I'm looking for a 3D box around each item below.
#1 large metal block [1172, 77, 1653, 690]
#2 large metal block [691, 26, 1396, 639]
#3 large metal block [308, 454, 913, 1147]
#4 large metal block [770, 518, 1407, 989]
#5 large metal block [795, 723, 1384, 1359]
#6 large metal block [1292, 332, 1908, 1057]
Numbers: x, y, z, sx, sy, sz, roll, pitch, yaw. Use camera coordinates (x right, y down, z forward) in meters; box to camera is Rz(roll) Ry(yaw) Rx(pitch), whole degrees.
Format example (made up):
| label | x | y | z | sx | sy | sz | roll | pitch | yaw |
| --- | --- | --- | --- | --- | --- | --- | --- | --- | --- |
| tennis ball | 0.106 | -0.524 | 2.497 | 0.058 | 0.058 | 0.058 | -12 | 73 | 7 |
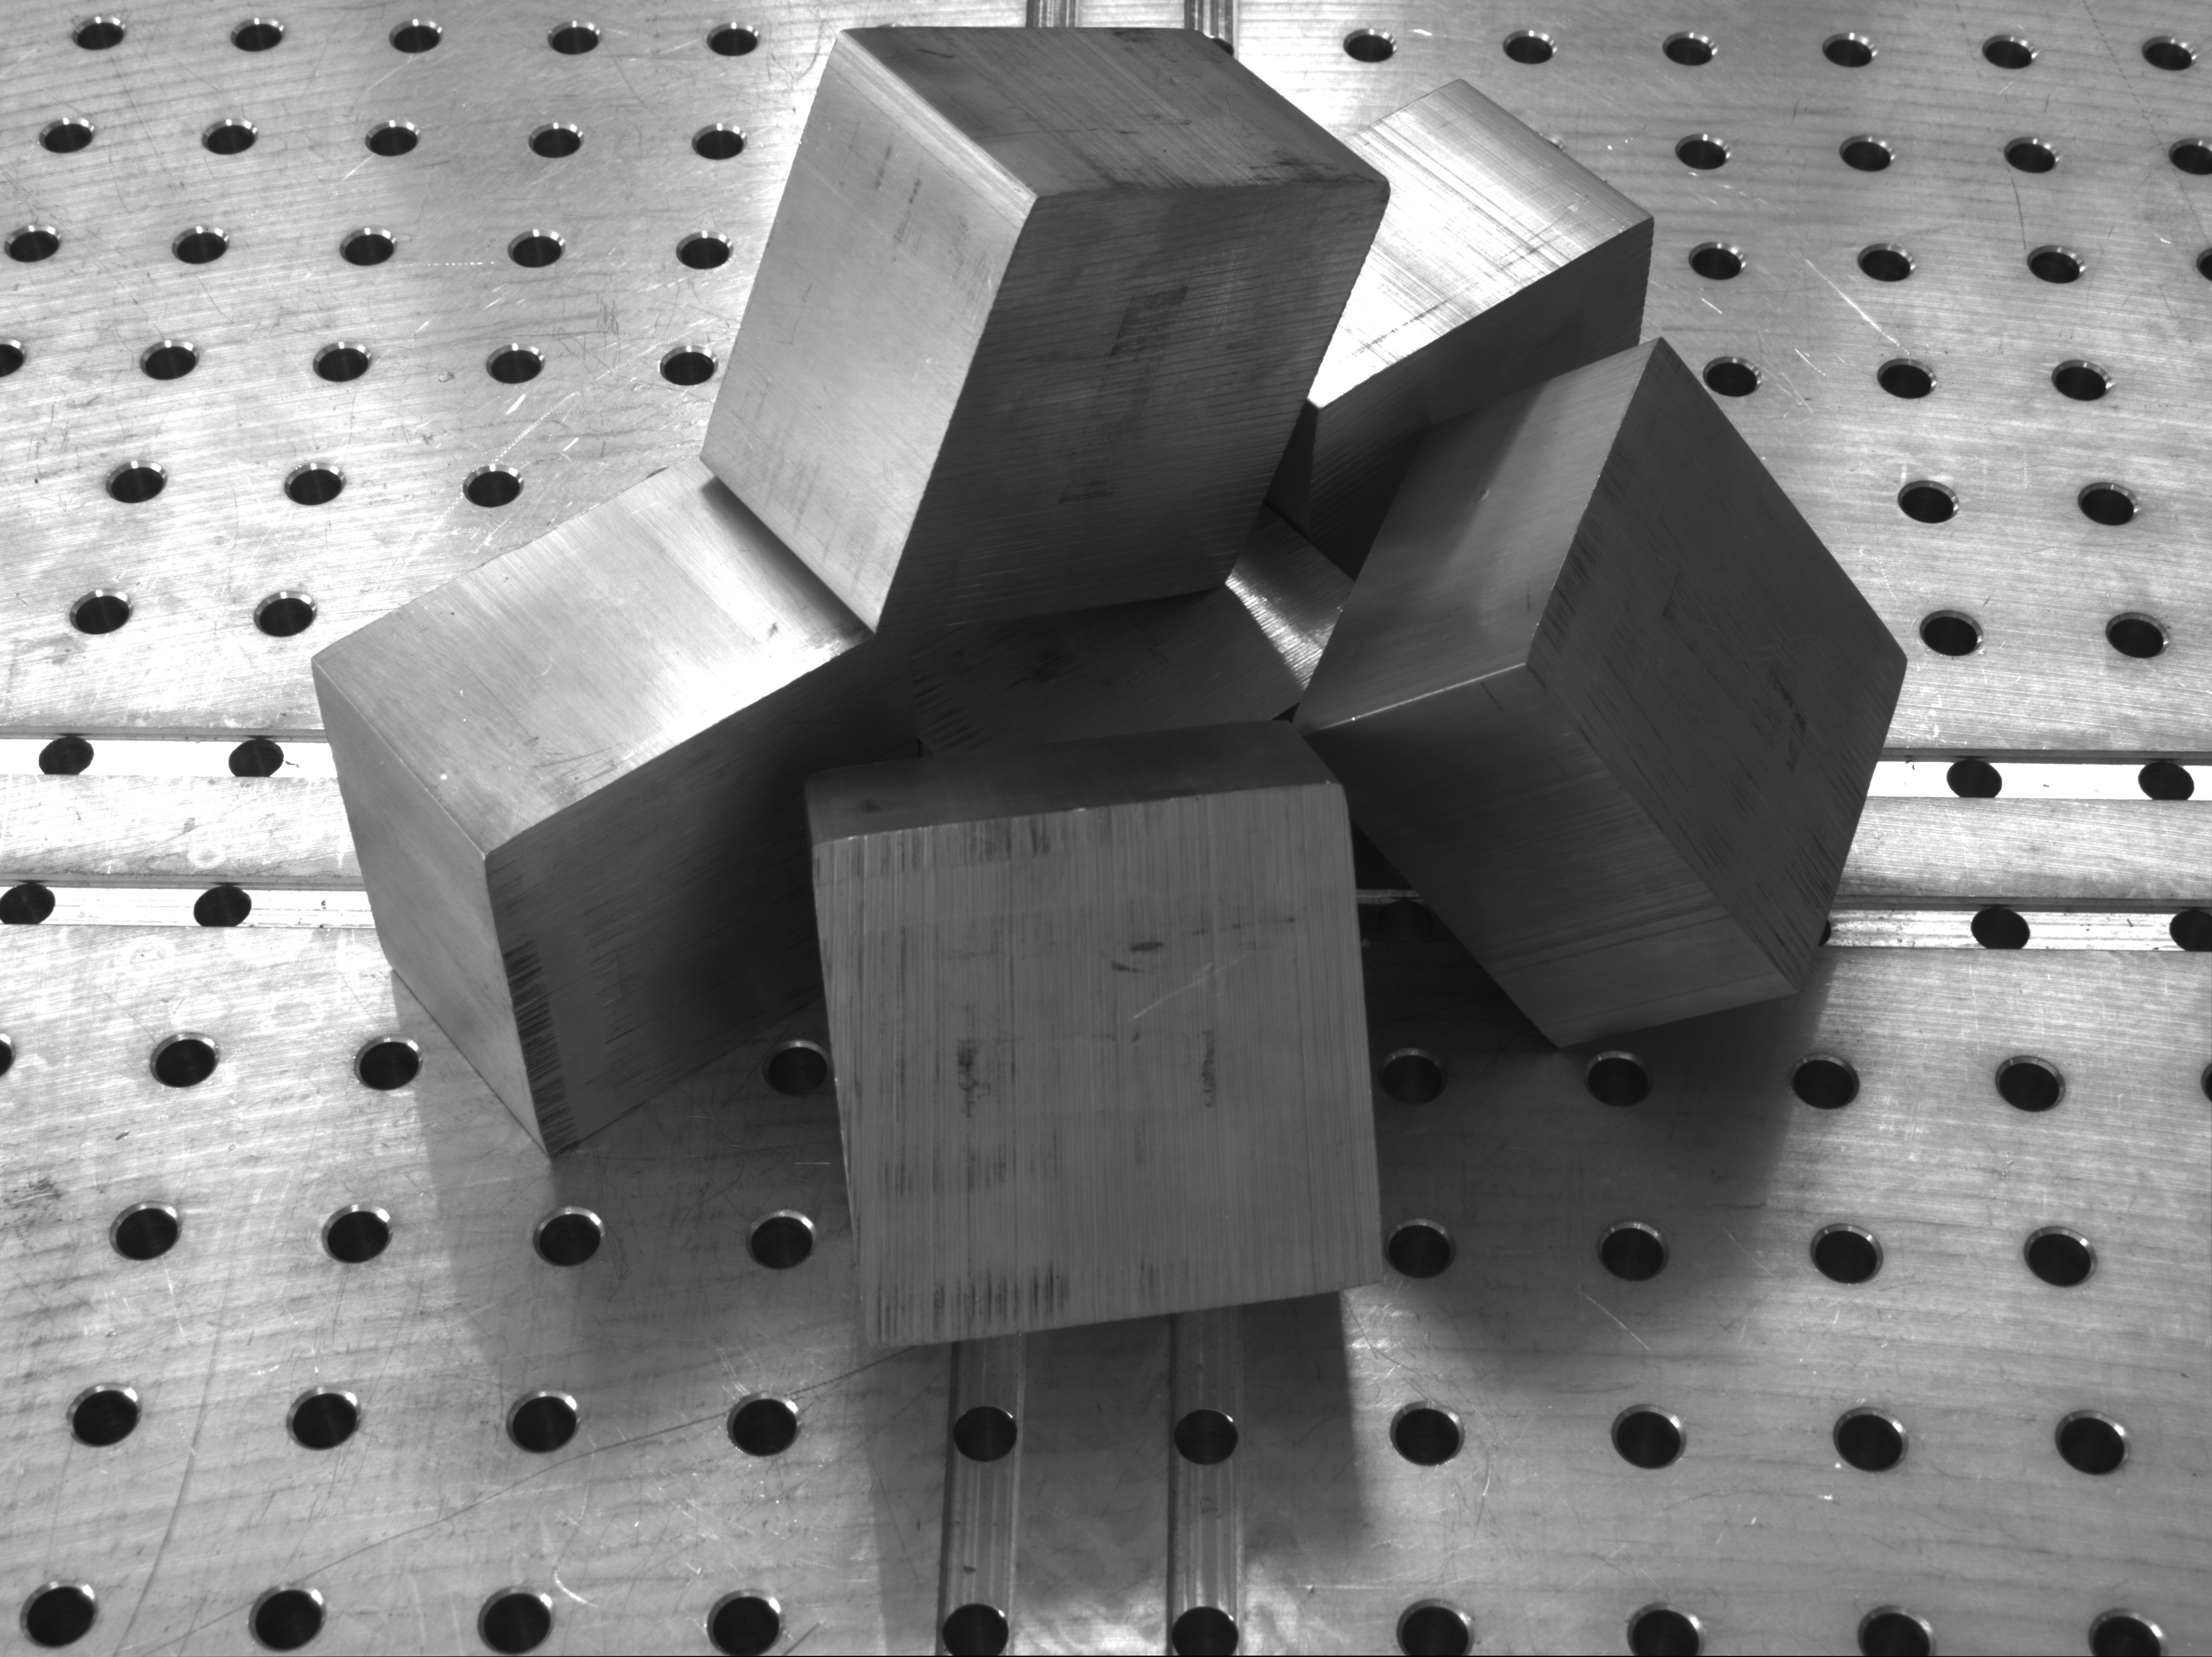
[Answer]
| label | x | y | z | sx | sy | sz | roll | pitch | yaw |
| --- | --- | --- | --- | --- | --- | --- | --- | --- | --- |
| large metal block | 0.050 | -0.078 | 0.675 | 0.080 | 0.080 | 0.050 | -32 | 57 | -24 |
| large metal block | -0.011 | -0.082 | 0.597 | 0.080 | 0.080 | 0.050 | -11 | 45 | -43 |
| large metal block | -0.079 | -0.006 | 0.613 | 0.080 | 0.080 | 0.050 | -31 | 56 | -23 |
| large metal block | -0.004 | -0.020 | 0.648 | 0.080 | 0.050 | 0.080 | -32 | 57 | -24 |
| large metal block | -0.003 | 0.031 | 0.574 | 0.080 | 0.080 | 0.050 | -7 | 14 | -5 |
| large metal block | 0.084 | -0.022 | 0.619 | 0.050 | 0.080 | 0.080 | -18 | 35 | 43 |
